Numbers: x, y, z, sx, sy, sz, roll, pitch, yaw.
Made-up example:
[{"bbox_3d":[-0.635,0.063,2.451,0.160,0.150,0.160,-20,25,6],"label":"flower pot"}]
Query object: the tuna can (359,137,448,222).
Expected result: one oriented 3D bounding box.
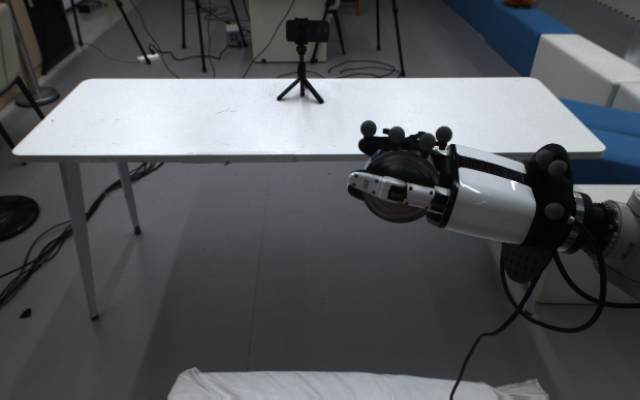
[{"bbox_3d":[0.091,-0.021,0.543,0.085,0.085,0.034,7,23,6],"label":"tuna can"}]
